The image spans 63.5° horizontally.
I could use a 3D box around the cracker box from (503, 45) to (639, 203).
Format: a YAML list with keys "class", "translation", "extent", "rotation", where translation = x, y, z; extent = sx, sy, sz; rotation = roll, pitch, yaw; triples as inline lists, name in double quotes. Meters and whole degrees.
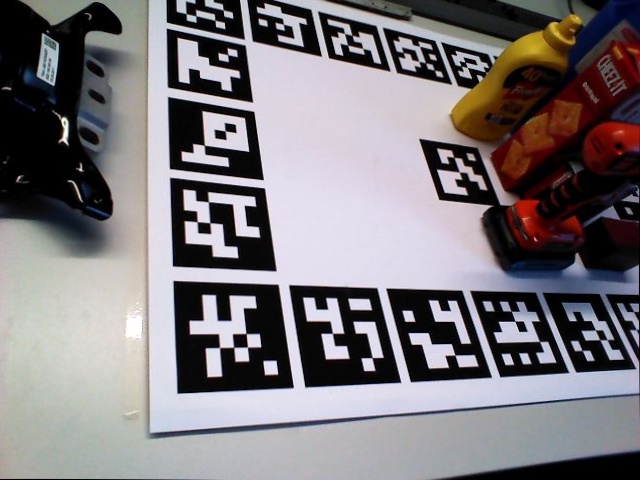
- class: "cracker box"
  translation: [0.372, -0.128, 0.660]
  extent: [0.164, 0.215, 0.071]
  rotation: [2, 59, -21]

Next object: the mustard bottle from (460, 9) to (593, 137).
- class: "mustard bottle"
  translation: [0.277, -0.220, 0.680]
  extent: [0.096, 0.193, 0.058]
  rotation: [16, 57, -15]

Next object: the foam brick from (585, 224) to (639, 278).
- class: "foam brick"
  translation: [0.400, 0.016, 0.695]
  extent: [0.078, 0.052, 0.052]
  rotation: [7, 60, -21]

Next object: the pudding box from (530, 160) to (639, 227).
- class: "pudding box"
  translation: [0.351, -0.060, 0.677]
  extent: [0.113, 0.090, 0.038]
  rotation: [4, 58, -19]

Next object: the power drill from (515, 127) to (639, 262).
- class: "power drill"
  translation: [0.327, -0.044, 0.570]
  extent: [0.184, 0.188, 0.057]
  rotation: [4, 57, -24]

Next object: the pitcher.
- class: "pitcher"
  translation: [0.404, -0.216, 0.721]
  extent: [0.188, 0.244, 0.132]
  rotation: [9, 58, -17]
